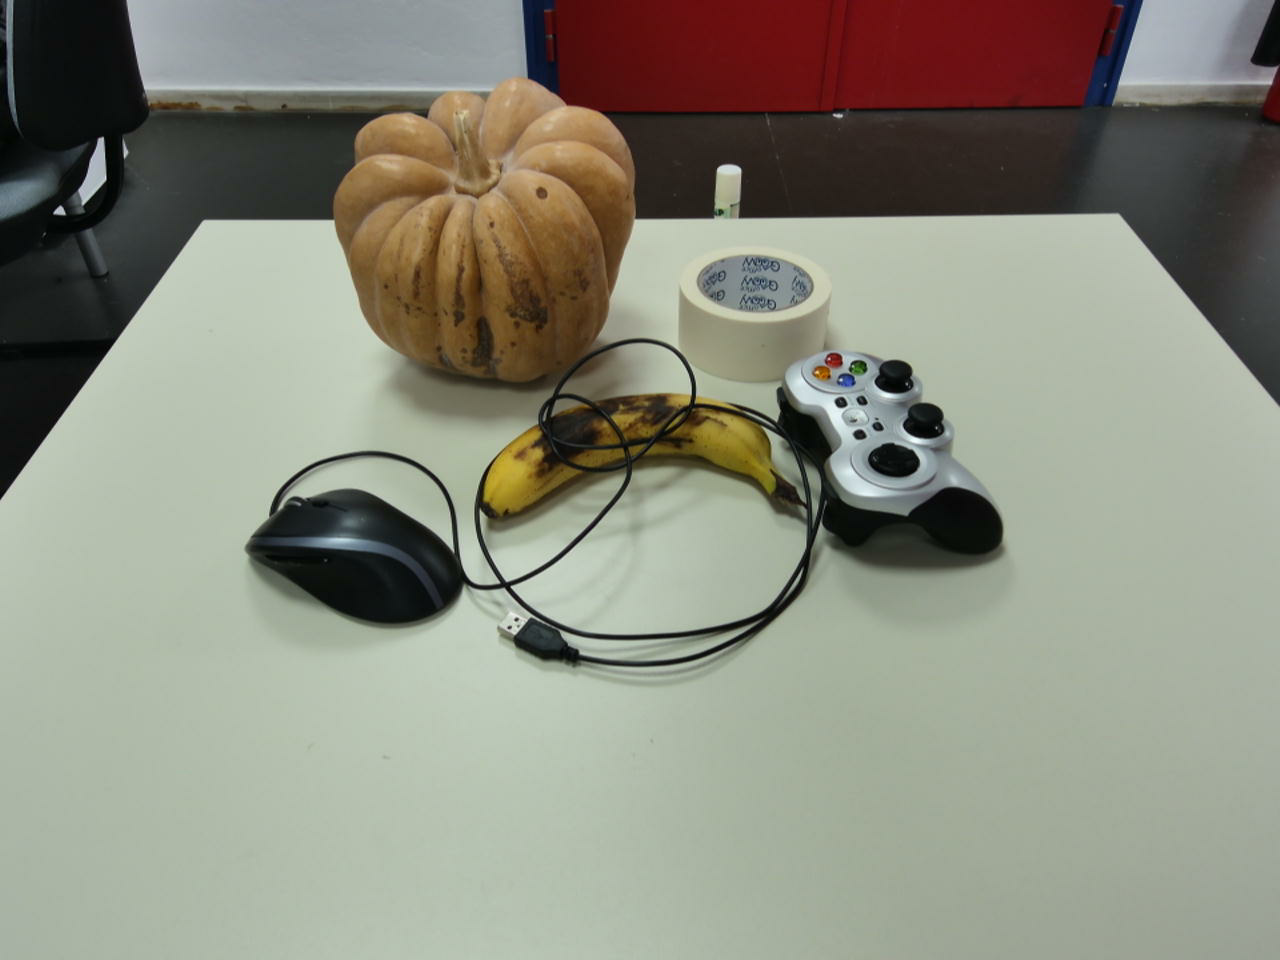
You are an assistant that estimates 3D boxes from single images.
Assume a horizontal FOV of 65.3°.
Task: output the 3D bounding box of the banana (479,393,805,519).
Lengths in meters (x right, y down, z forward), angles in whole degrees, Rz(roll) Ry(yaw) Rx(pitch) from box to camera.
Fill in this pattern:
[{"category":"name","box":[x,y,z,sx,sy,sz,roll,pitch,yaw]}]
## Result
[{"category":"banana","box":[0.000,-0.017,0.603,0.187,0.039,0.094,-1,39,-2]}]
